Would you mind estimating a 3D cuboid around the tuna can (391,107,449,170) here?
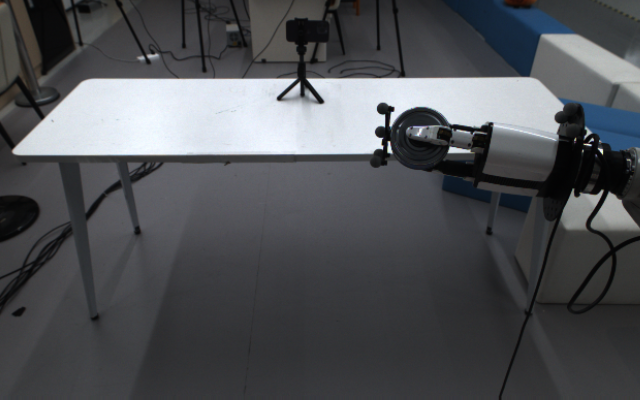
[{"bbox_3d":[0.147,-0.094,0.690,0.085,0.085,0.034,10,-6,11],"label":"tuna can"}]
